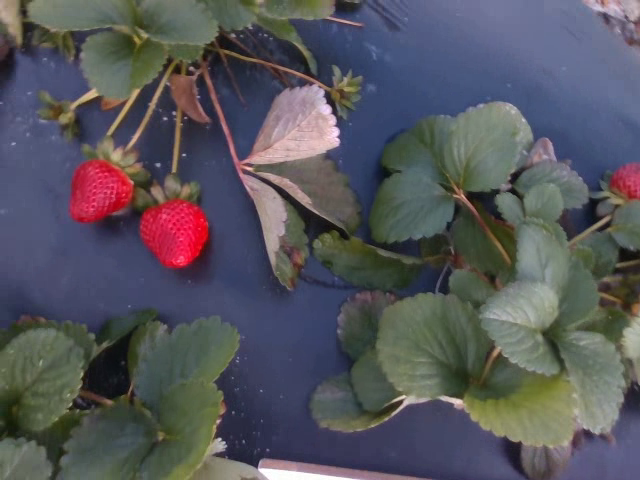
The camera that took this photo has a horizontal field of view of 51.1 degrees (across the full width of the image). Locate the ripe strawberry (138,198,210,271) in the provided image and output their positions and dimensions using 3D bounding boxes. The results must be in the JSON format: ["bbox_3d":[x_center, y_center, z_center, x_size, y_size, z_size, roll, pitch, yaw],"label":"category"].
[{"bbox_3d":[-0.108,-0.004,0.473,0.057,0.064,0.051,-14,-39,-7],"label":"ripe strawberry"}]

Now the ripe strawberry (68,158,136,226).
[{"bbox_3d":[-0.163,-0.033,0.480,0.048,0.056,0.041,20,-32,-1],"label":"ripe strawberry"}]
